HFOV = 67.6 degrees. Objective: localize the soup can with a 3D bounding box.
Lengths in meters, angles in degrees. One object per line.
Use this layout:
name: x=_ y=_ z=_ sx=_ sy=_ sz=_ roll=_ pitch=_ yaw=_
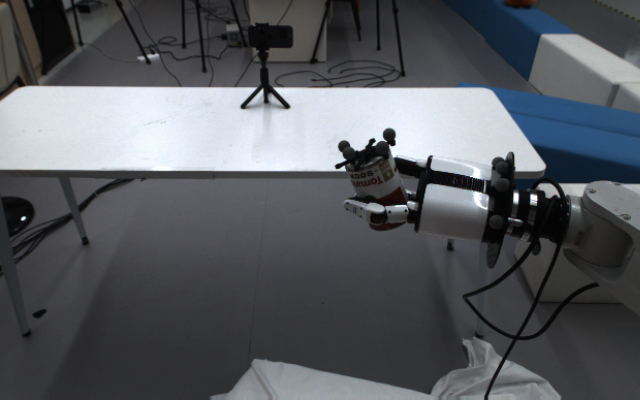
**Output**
soup can: x=0.086 y=-0.017 z=0.679 sx=0.067 sy=0.101 sz=0.067 roll=-21 pitch=24 yaw=10
